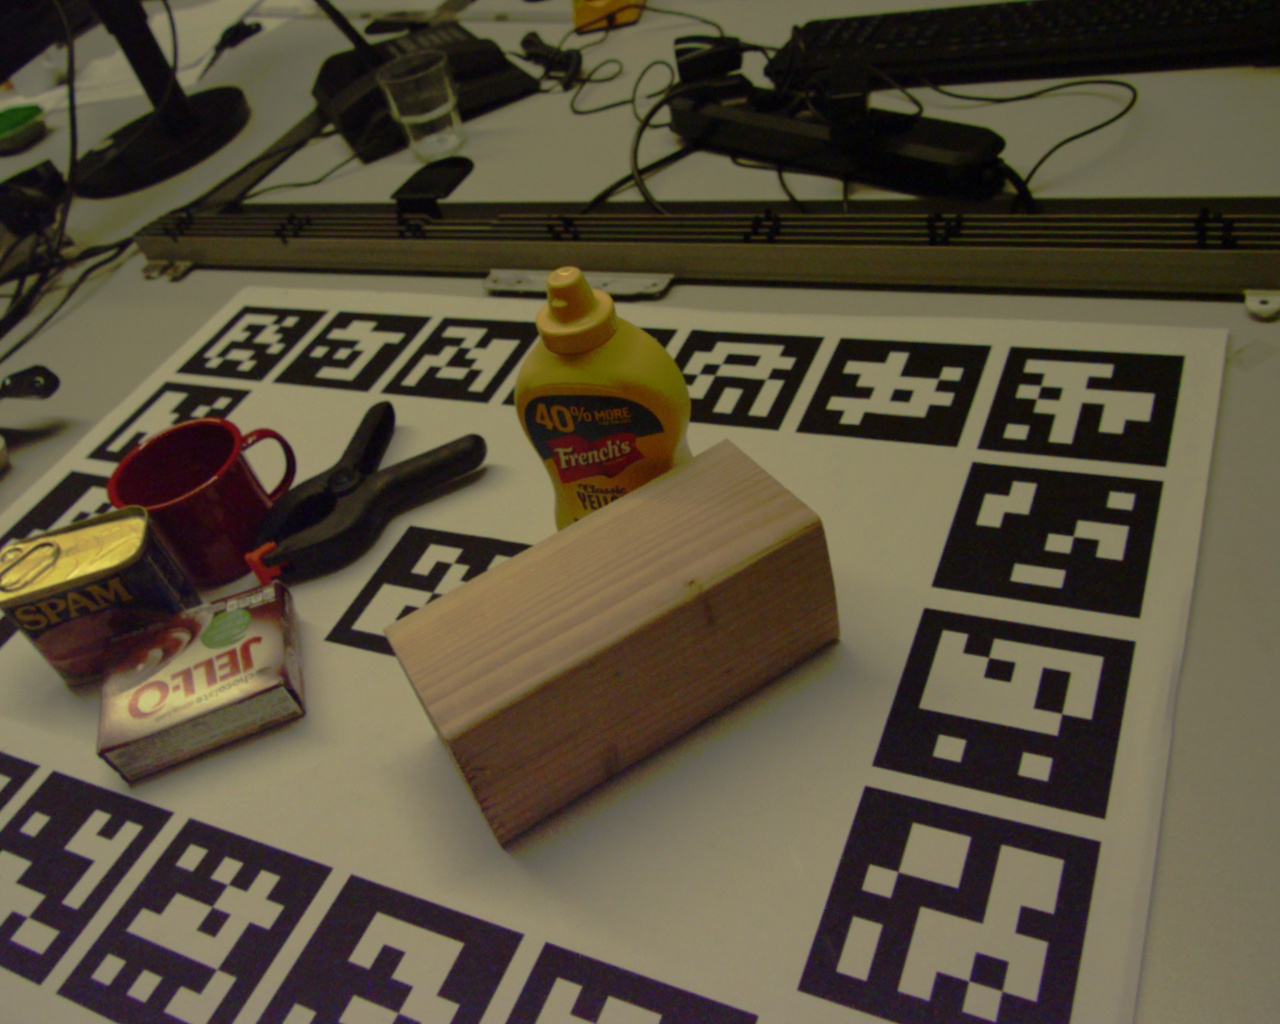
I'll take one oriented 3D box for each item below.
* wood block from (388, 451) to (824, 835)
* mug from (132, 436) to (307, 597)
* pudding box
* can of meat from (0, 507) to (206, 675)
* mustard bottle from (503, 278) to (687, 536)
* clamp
[{"bbox_3d":[-0.015,0.065,0.613,0.205,0.090,0.091,-29,41,-13],"label":"wood block"},{"bbox_3d":[-0.290,-0.001,0.818,0.116,0.081,0.094,-42,47,-21],"label":"mug"},{"bbox_3d":[-0.261,0.099,0.701,0.113,0.038,0.091,-21,43,-4],"label":"pudding box"},{"bbox_3d":[-0.347,0.054,0.740,0.102,0.083,0.058,-15,43,4],"label":"can of meat"},{"bbox_3d":[-0.026,-0.051,0.657,0.097,0.190,0.058,3,47,23],"label":"mustard bottle"},{"bbox_3d":[-0.200,-0.017,0.807,0.123,0.036,0.164,26,61,37],"label":"clamp"}]
